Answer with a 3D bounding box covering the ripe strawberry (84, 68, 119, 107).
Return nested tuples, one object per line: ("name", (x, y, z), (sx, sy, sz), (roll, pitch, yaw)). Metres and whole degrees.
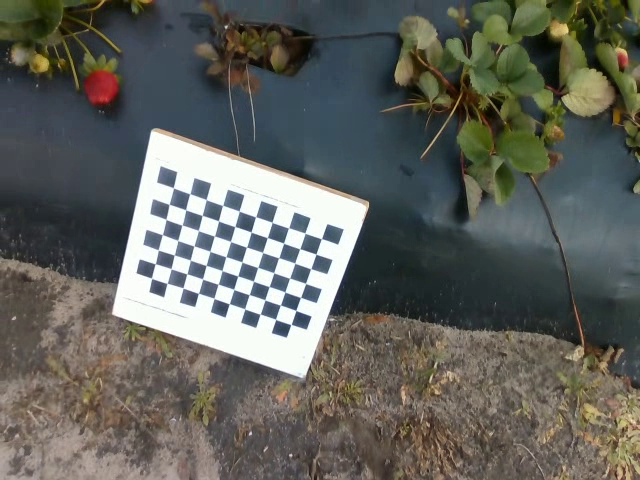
("ripe strawberry", (-0.266, -0.179, 0.787), (0.045, 0.055, 0.042), (-28, -47, 17))
